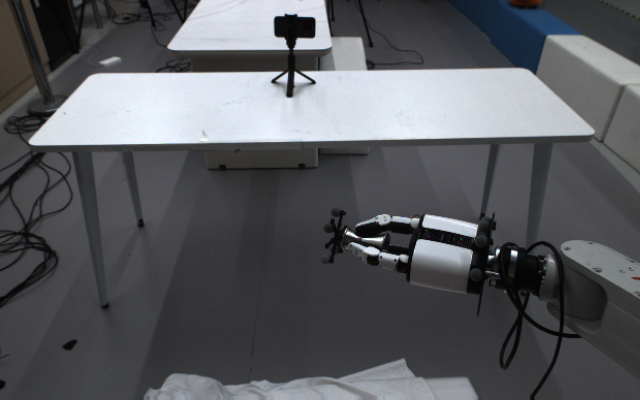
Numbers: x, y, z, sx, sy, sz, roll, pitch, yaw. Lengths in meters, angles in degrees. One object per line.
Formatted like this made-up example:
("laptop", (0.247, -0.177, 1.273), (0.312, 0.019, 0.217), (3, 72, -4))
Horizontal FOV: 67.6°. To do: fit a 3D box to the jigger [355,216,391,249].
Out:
("jigger", (0.080, 0.065, 0.781), (0.071, 0.043, 0.043), (10, 35, 22))
